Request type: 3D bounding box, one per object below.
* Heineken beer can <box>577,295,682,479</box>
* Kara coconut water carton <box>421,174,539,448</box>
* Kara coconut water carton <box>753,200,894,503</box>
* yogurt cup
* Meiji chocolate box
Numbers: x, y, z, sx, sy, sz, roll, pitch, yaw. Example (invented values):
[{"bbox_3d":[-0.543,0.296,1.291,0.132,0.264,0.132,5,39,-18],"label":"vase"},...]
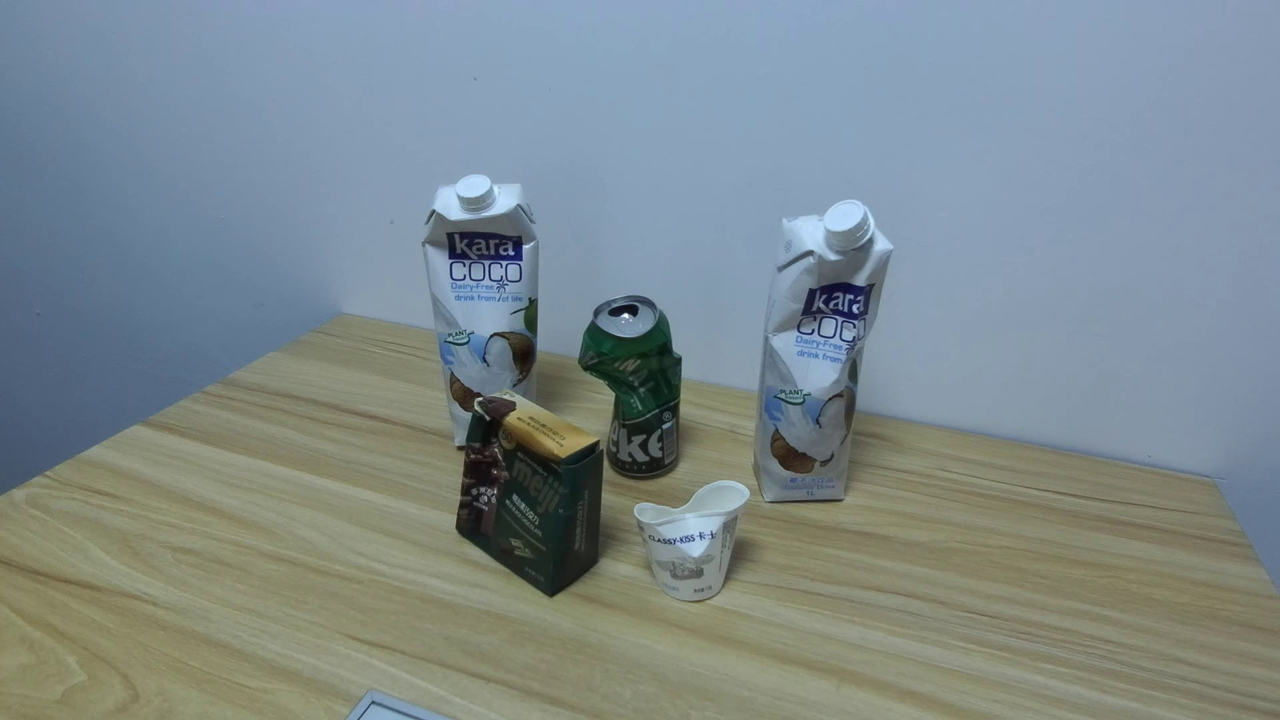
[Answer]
[{"bbox_3d":[-0.002,0.024,0.605,0.067,0.159,0.079,7,34,21],"label":"Heineken beer can"},{"bbox_3d":[-0.134,-0.042,0.629,0.100,0.244,0.071,-4,25,-5],"label":"Kara coconut water carton"},{"bbox_3d":[0.138,-0.005,0.557,0.083,0.256,0.078,6,30,8],"label":"Kara coconut water carton"},{"bbox_3d":[0.036,0.125,0.500,0.053,0.071,0.076,24,37,37],"label":"yogurt cup"},{"bbox_3d":[-0.083,0.095,0.525,0.112,0.110,0.058,21,26,35],"label":"Meiji chocolate box"}]
